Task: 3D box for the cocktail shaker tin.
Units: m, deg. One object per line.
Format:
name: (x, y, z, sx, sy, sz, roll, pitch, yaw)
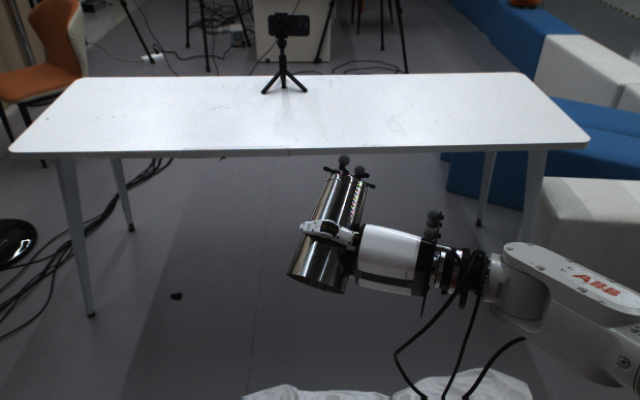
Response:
cocktail shaker tin: (0.017, 0.049, 0.746, 0.093, 0.093, 0.170, 14, 73, 17)
